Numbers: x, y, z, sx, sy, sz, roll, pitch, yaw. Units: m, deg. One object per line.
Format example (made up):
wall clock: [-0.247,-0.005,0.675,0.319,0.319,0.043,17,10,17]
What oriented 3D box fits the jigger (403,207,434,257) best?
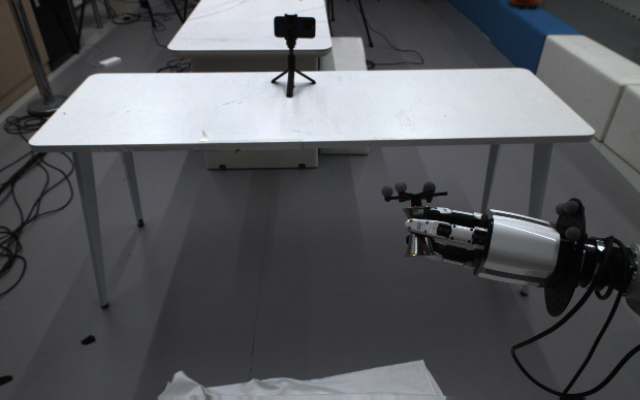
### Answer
jigger: [0.139,0.043,0.684,0.043,0.071,0.043,-2,-7,0]
